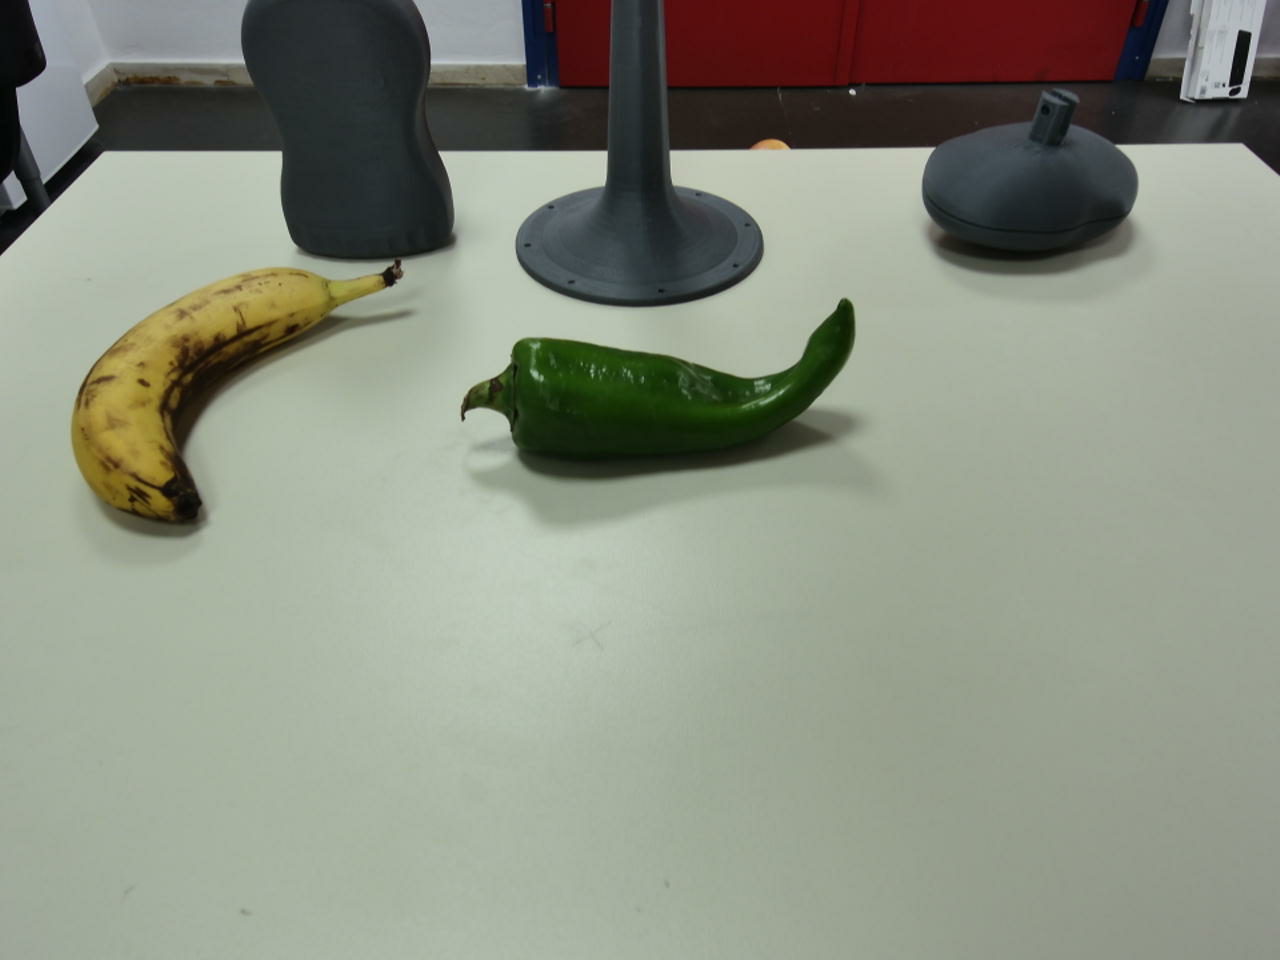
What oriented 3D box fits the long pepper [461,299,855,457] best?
[{"bbox_3d":[0.008,-0.044,0.440,0.175,0.065,0.058,-1,39,-1],"label":"long pepper"}]
